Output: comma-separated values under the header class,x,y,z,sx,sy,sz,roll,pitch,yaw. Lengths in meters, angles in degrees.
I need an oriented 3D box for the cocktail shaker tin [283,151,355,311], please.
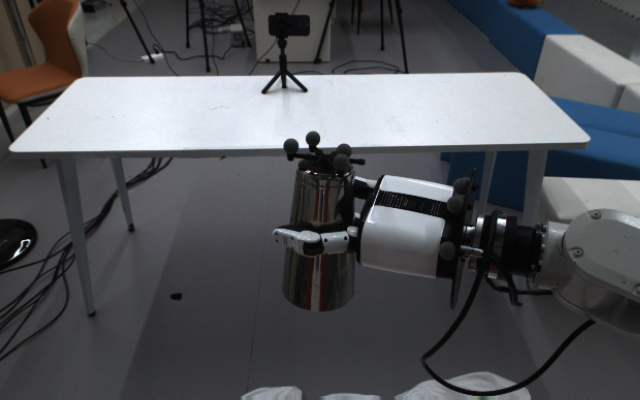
class,x,y,z,sx,sy,sz,roll,pitch,yaw
cocktail shaker tin,0.004,0.037,0.583,0.093,0.170,0.093,2,25,-1
